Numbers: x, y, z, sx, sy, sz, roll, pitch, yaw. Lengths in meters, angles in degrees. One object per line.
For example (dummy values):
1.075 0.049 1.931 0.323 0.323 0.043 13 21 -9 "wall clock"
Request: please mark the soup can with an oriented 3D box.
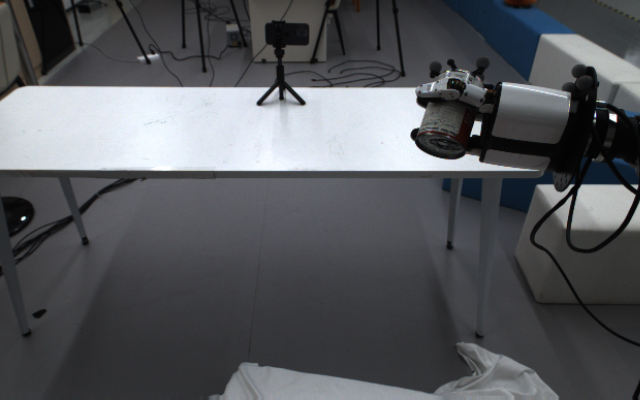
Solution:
0.177 -0.116 0.655 0.067 0.067 0.101 15 74 18 "soup can"
